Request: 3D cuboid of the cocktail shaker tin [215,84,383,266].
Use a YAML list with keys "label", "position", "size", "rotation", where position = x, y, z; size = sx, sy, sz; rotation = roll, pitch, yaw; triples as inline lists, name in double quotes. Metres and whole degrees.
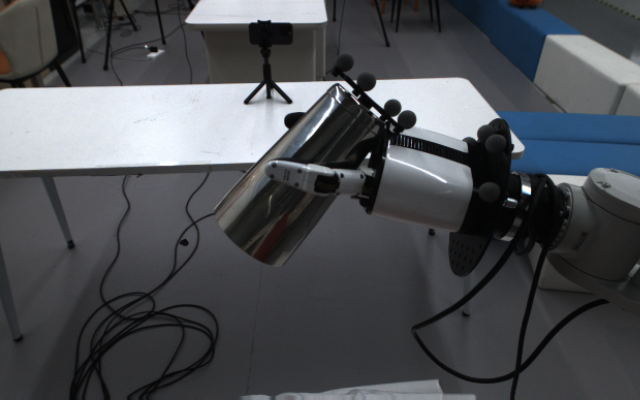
- label: "cocktail shaker tin"
  position: [-0.014, -0.030, 0.478]
  size: [0.093, 0.170, 0.093]
  rotation: [41, 12, -10]
